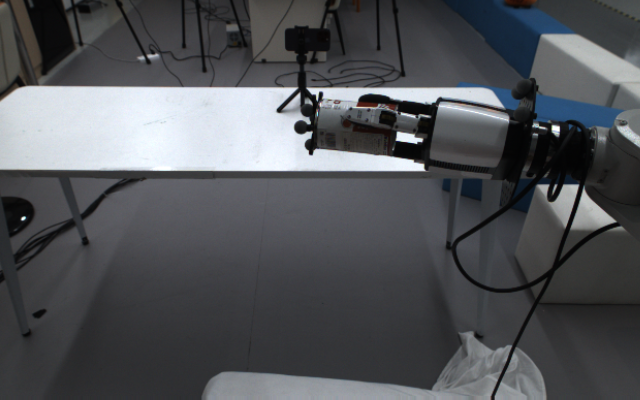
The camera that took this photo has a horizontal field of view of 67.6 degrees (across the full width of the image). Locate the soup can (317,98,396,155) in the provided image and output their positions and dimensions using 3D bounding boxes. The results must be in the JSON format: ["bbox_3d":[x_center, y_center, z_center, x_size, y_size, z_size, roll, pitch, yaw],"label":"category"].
[{"bbox_3d":[0.050,-0.097,0.636,0.101,0.067,0.067,6,35,10],"label":"soup can"}]
